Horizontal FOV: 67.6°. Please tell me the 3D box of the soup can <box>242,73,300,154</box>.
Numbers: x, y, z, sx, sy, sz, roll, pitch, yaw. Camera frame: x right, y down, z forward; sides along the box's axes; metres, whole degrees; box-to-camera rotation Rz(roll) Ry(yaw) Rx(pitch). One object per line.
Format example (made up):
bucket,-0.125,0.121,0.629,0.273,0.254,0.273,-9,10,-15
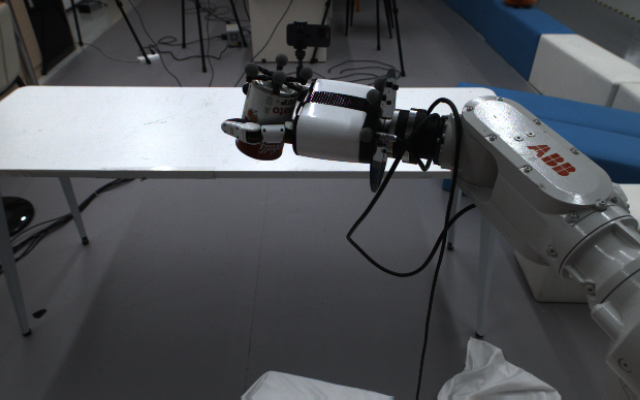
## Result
soup can,-0.071,-0.114,0.653,0.067,0.101,0.067,14,35,-10
